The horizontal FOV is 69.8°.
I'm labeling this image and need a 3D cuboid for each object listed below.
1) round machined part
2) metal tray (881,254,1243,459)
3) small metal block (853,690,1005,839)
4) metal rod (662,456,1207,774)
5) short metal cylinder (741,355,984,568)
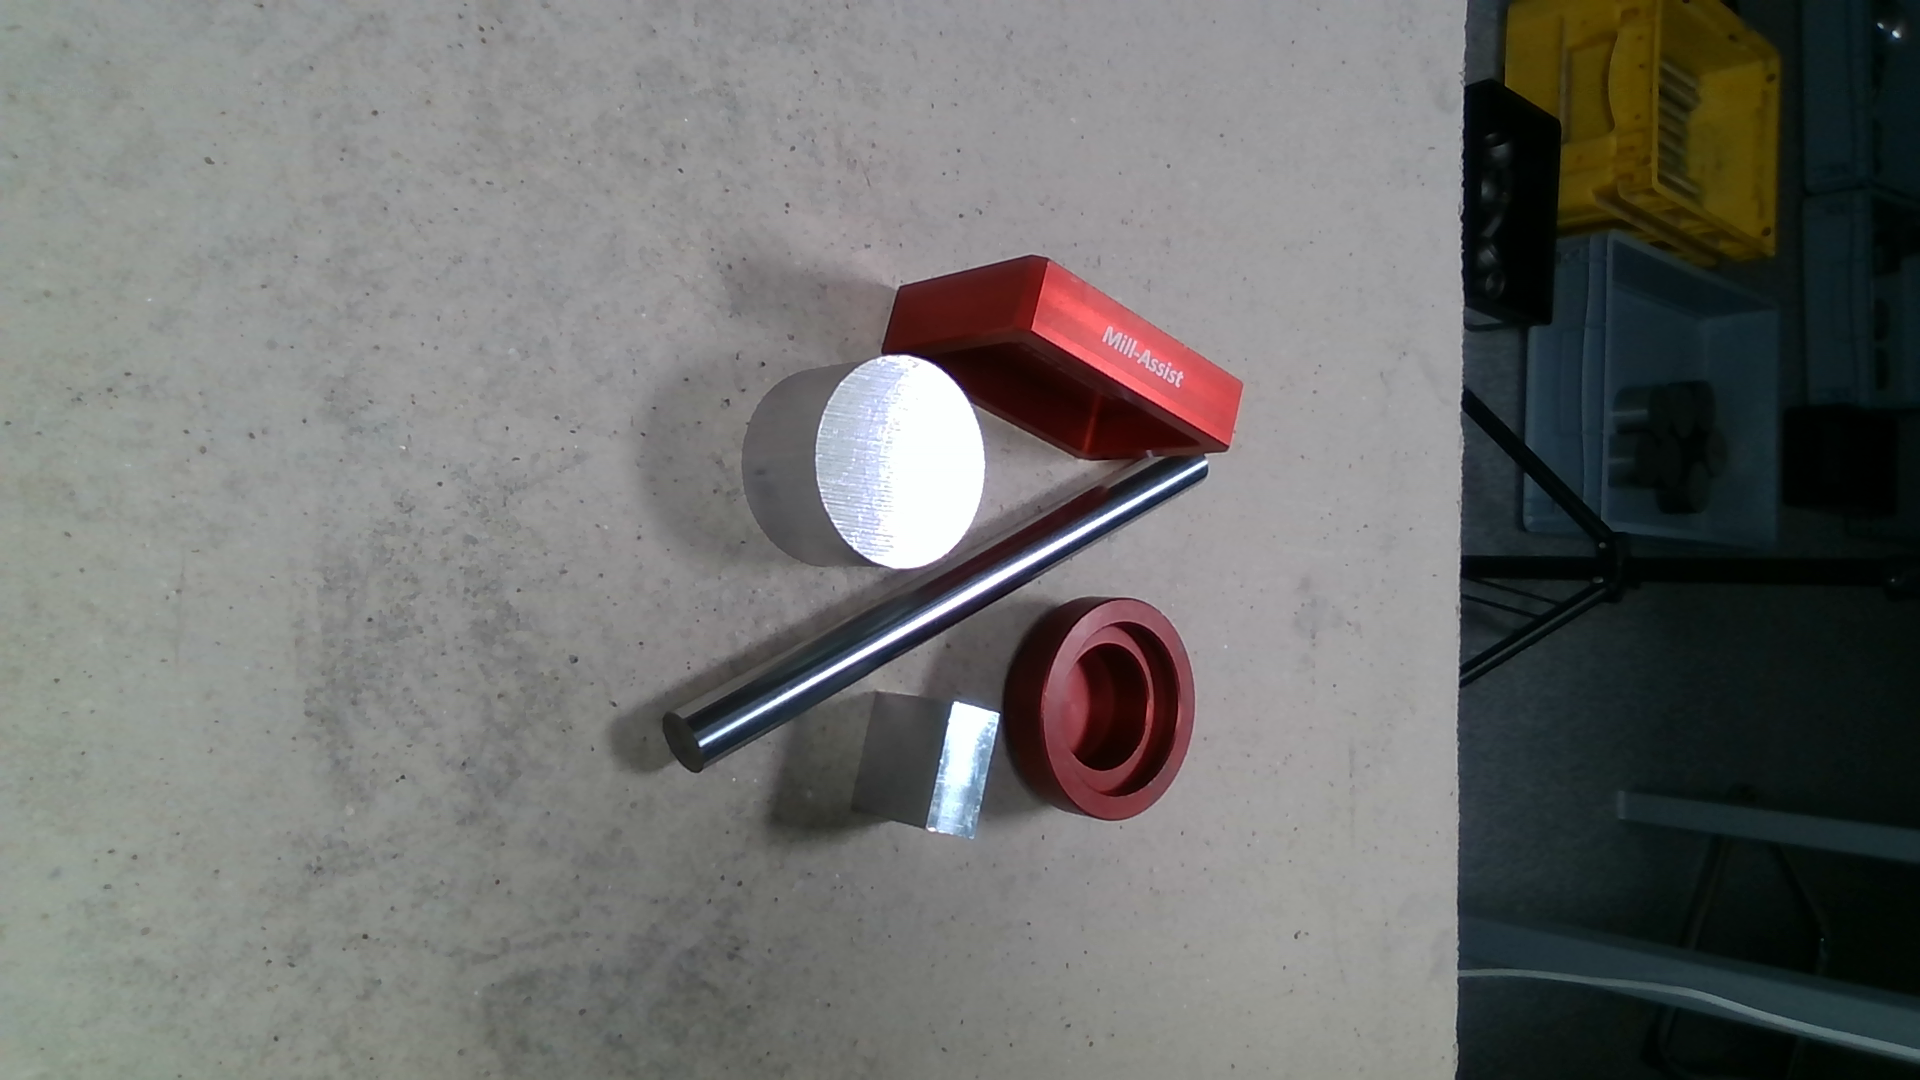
[{"bbox_3d":[0.058,0.074,0.622,0.098,0.042,0.098,0,90,-40],"label":"round machined part"},{"bbox_3d":[0.044,-0.072,0.578,0.130,0.090,0.030,23,75,-38],"label":"metal tray"},{"bbox_3d":[-0.013,0.089,0.553,0.025,0.050,0.050,21,76,-38],"label":"small metal block"},{"bbox_3d":[0.005,0.017,0.589,0.300,0.025,0.025,-28,108,-37],"label":"metal rod"},{"bbox_3d":[-0.037,-0.029,0.535,0.080,0.050,0.080,0,90,-40],"label":"short metal cylinder"}]
